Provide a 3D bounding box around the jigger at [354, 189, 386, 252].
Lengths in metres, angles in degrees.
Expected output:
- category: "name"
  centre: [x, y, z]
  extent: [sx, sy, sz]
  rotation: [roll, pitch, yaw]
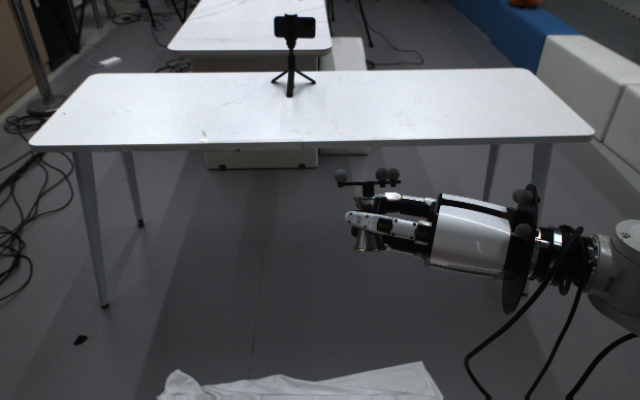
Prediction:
- category: "jigger"
  centre: [0.063, 0.029, 0.623]
  extent: [0.043, 0.071, 0.043]
  rotation: [-2, 3, 0]
